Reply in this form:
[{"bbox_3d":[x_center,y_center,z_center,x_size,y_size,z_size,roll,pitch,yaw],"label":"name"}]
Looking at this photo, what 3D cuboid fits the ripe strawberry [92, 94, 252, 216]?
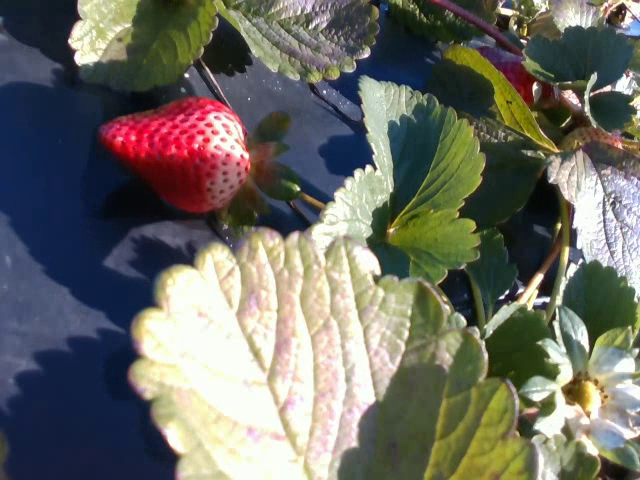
[{"bbox_3d":[-0.043,-0.026,0.184,0.056,0.041,0.045,8,-3,-31],"label":"ripe strawberry"}]
